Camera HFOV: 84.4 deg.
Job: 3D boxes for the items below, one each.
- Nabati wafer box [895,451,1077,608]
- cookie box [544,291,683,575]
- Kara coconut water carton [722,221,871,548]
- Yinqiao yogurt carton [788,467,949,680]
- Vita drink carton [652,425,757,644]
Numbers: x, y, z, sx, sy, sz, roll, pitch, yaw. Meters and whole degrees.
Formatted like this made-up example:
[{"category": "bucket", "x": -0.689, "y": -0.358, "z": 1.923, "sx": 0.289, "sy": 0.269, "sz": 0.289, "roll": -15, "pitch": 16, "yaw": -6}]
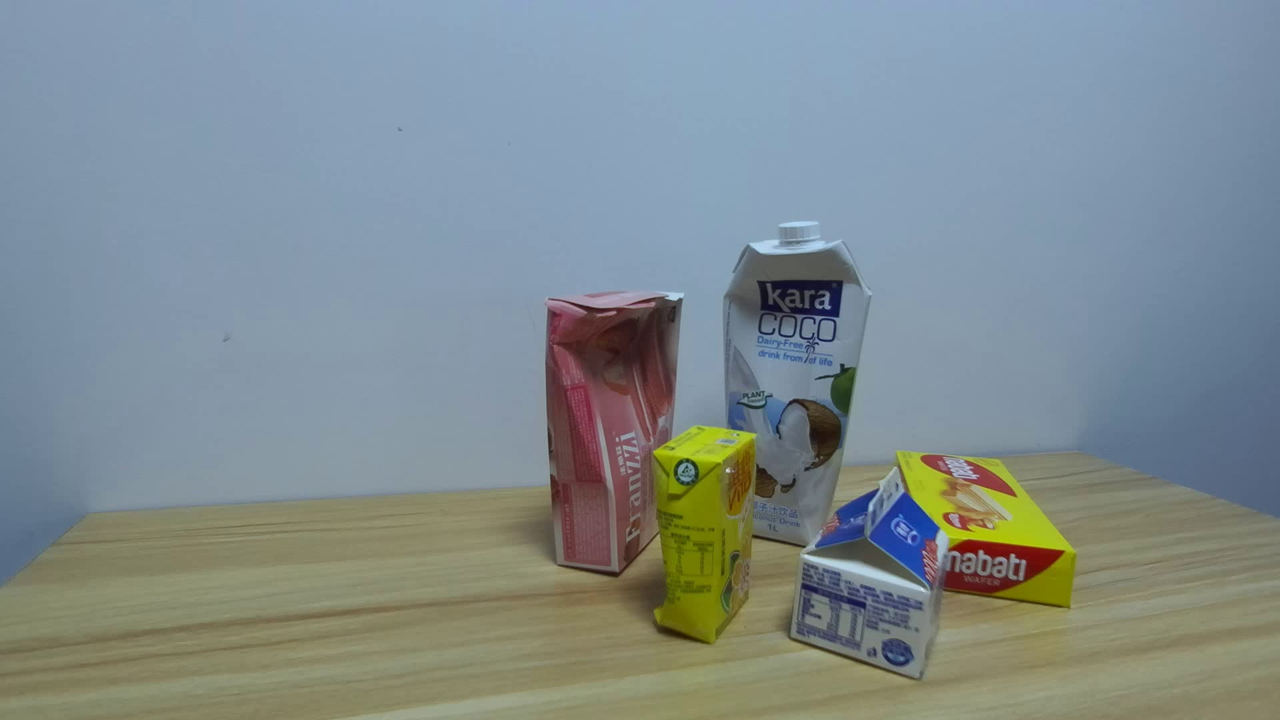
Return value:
[{"category": "Nabati wafer box", "x": 0.256, "y": 0.121, "z": 0.551, "sx": 0.092, "sy": 0.042, "sz": 0.203, "roll": 5, "pitch": 10, "yaw": 14}, {"category": "cookie box", "x": -0.016, "y": 0.046, "z": 0.493, "sx": 0.055, "sy": 0.184, "sz": 0.119, "roll": 8, "pitch": 13, "yaw": 27}, {"category": "Kara coconut water carton", "x": 0.112, "y": 0.016, "z": 0.536, "sx": 0.115, "sy": 0.238, "sz": 0.069, "roll": 6, "pitch": 12, "yaw": 24}, {"category": "Yinqiao yogurt carton", "x": 0.135, "y": 0.114, "z": 0.405, "sx": 0.073, "sy": 0.092, "sz": 0.076, "roll": 8, "pitch": 12, "yaw": 29}, {"category": "Vita drink carton", "x": 0.036, "y": 0.100, "z": 0.413, "sx": 0.043, "sy": 0.109, "sz": 0.077, "roll": 6, "pitch": 11, "yaw": 26}]
